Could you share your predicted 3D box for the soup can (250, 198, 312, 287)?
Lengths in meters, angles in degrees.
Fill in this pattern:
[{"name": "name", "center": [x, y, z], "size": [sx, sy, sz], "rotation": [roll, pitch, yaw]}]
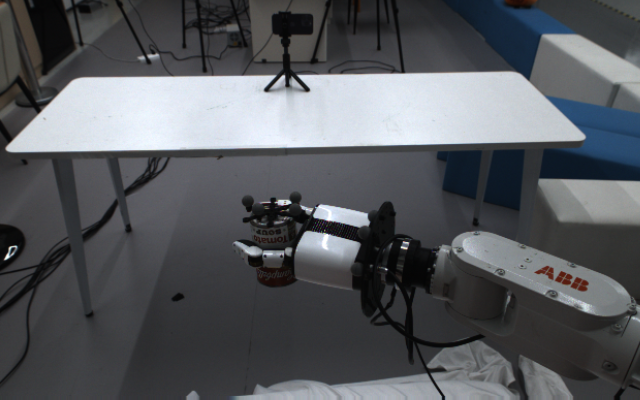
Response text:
[{"name": "soup can", "center": [-0.063, 0.067, 0.705], "size": [0.067, 0.101, 0.067], "rotation": [-4, 25, 2]}]
